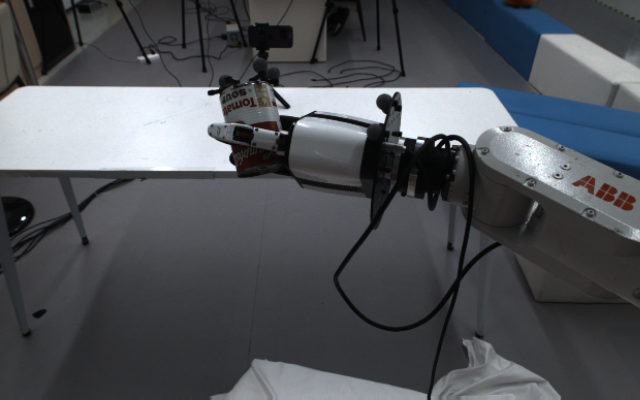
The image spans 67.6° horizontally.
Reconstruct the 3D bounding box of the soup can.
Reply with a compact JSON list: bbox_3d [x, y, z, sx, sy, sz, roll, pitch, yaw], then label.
[{"bbox_3d":[-0.078,-0.084,0.592,0.067,0.101,0.067,-14,-2,-1],"label":"soup can"}]
